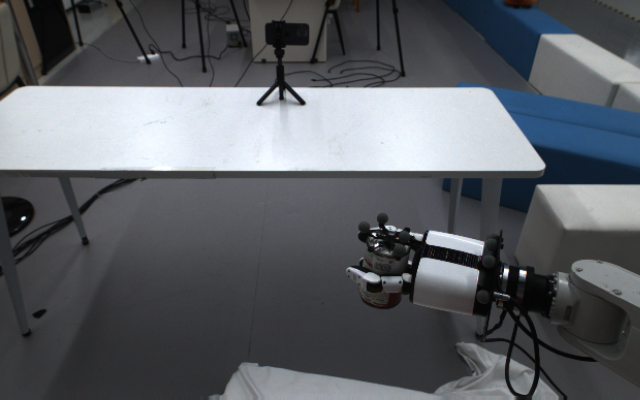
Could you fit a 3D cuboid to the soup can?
[{"bbox_3d":[0.099,0.106,0.734,0.067,0.101,0.067,3,30,-2],"label":"soup can"}]
